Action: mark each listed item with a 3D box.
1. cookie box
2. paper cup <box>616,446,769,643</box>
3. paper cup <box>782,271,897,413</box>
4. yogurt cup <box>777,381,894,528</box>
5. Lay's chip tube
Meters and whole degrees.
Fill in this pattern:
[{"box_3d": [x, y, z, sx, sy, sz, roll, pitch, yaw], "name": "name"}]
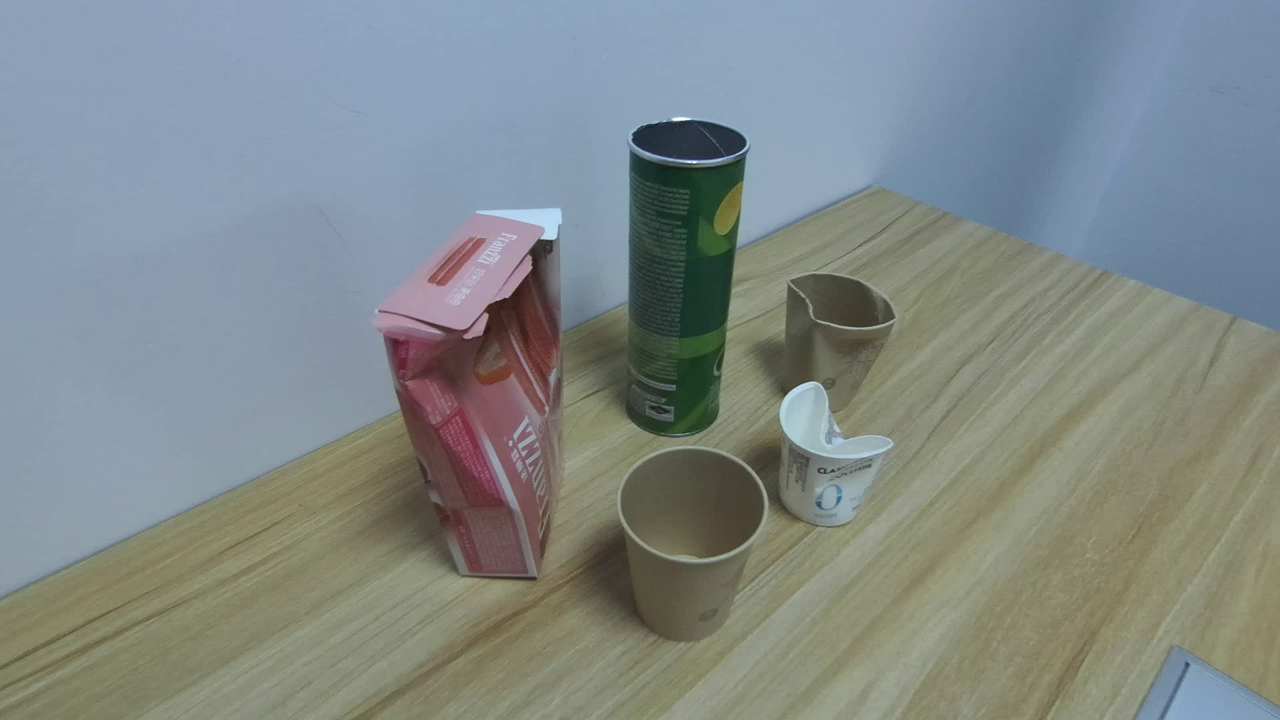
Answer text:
[{"box_3d": [-0.075, 0.026, 0.380, 0.055, 0.184, 0.118, 8, 38, 8], "name": "cookie box"}, {"box_3d": [0.025, 0.101, 0.372, 0.075, 0.082, 0.075, 2, 38, -1], "name": "paper cup"}, {"box_3d": [0.140, -0.011, 0.516, 0.066, 0.084, 0.071, -5, 38, -9], "name": "paper cup"}, {"box_3d": [0.113, 0.061, 0.433, 0.067, 0.070, 0.067, 2, 39, -1], "name": "yogurt cup"}, {"box_3d": [0.026, -0.048, 0.458, 0.071, 0.203, 0.071, 1, 38, -1], "name": "Lay's chip tube"}]
